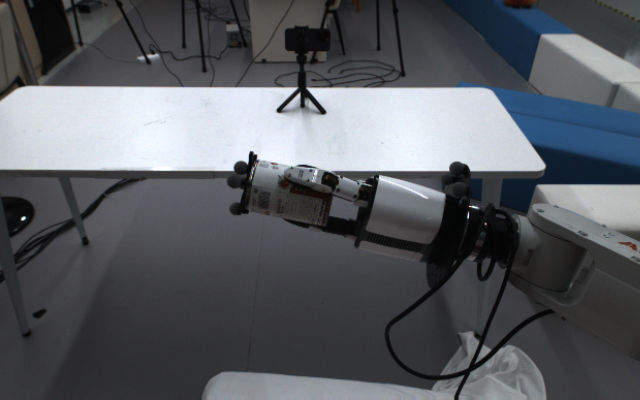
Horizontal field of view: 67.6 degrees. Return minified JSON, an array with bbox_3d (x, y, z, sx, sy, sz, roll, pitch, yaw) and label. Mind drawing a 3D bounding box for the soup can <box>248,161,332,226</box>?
[{"bbox_3d":[-0.034,-0.008,0.606,0.101,0.067,0.067,11,35,-2],"label":"soup can"}]
